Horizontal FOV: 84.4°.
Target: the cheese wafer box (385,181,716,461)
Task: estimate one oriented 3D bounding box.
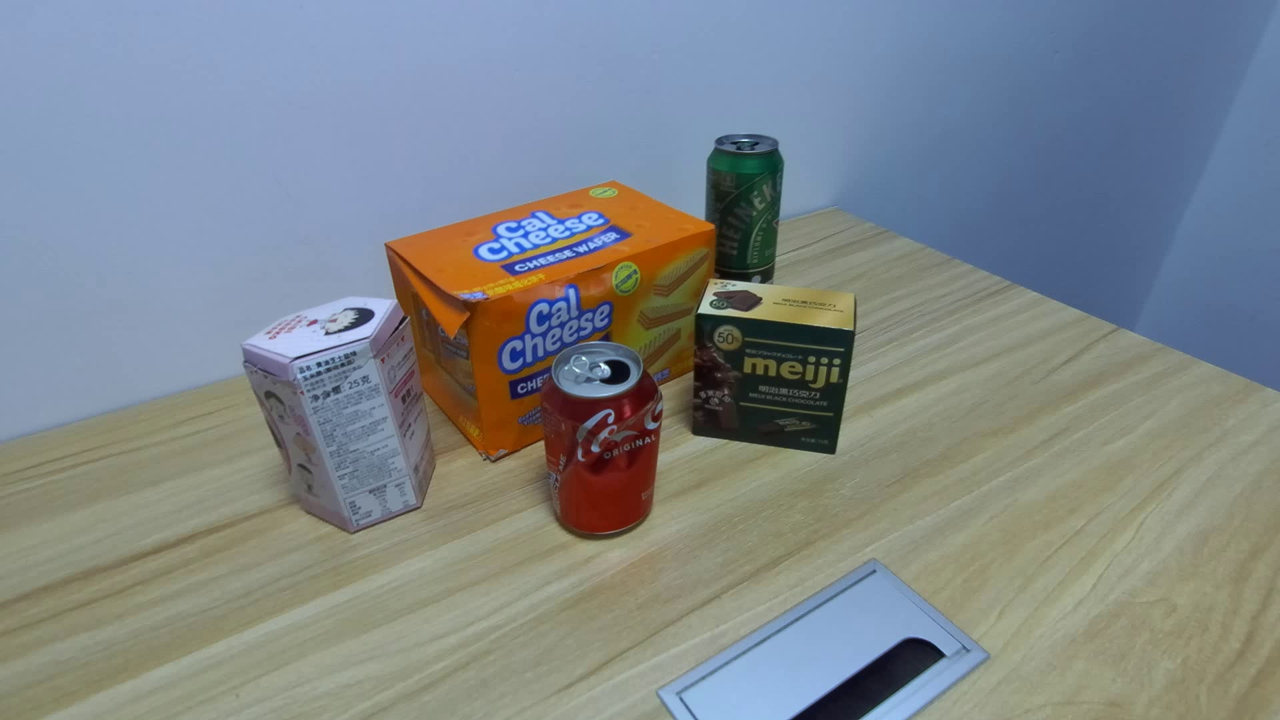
[{"bbox_3d":[-0.067,-0.046,0.577,0.228,0.137,0.149,-23,39,-29],"label":"cheese wafer box"}]

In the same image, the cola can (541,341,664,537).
[{"bbox_3d":[-0.025,0.050,0.443,0.065,0.117,0.067,26,41,36],"label":"cola can"}]

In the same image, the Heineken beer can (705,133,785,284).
[{"bbox_3d":[0.090,-0.112,0.638,0.067,0.169,0.067,-1,32,1],"label":"Heineken beer can"}]

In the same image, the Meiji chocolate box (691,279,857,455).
[{"bbox_3d":[0.094,0.005,0.510,0.110,0.109,0.056,6,35,11],"label":"Meiji chocolate box"}]

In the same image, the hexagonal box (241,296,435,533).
[{"bbox_3d":[-0.188,0.034,0.459,0.085,0.135,0.092,-1,33,1],"label":"hexagonal box"}]
